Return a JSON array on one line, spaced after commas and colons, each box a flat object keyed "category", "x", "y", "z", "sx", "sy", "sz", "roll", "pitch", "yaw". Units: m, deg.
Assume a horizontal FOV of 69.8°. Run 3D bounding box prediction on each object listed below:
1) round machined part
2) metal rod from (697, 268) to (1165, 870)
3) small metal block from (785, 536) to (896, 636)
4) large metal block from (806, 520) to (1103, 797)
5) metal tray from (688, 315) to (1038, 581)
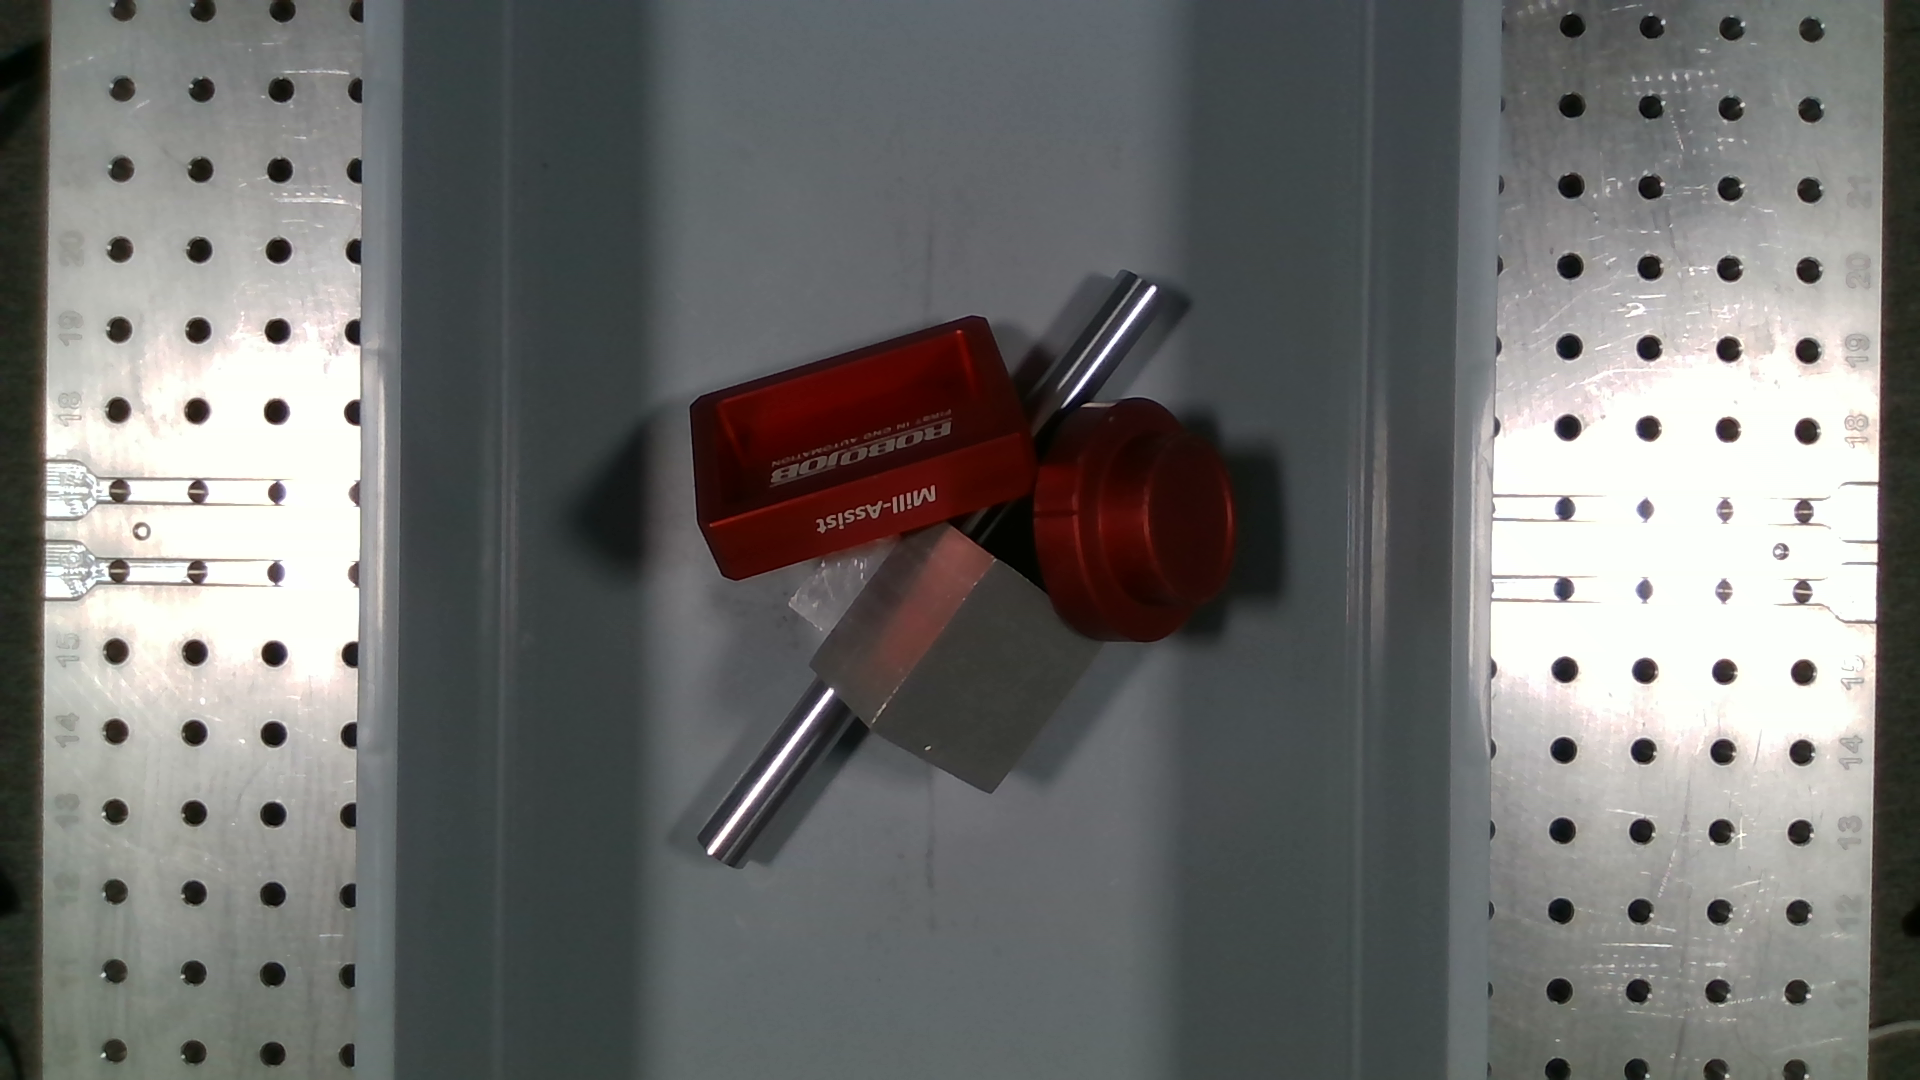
[{"category": "round machined part", "x": 0.075, "y": -0.008, "z": 0.548, "sx": 0.042, "sy": 0.098, "sz": 0.098, "roll": -2, "pitch": 91, "yaw": 40}, {"category": "metal rod", "x": -0.012, "y": 0.012, "z": 0.586, "sx": 0.025, "sy": 0.025, "sz": 0.300, "roll": 37, "pitch": 90, "yaw": 0}, {"category": "small metal block", "x": -0.044, "y": 0.014, "z": 0.573, "sx": 0.025, "sy": 0.050, "sz": 0.050, "roll": 38, "pitch": 90, "yaw": 0}, {"category": "large metal block", "x": 0.000, "y": 0.045, "z": 0.554, "sx": 0.080, "sy": 0.050, "sz": 0.080, "roll": -53, "pitch": 133, "yaw": 0}, {"category": "metal tray", "x": -0.041, "y": -0.039, "z": 0.554, "sx": 0.130, "sy": 0.090, "sz": 0.030, "roll": -17, "pitch": 131, "yaw": 0}]
